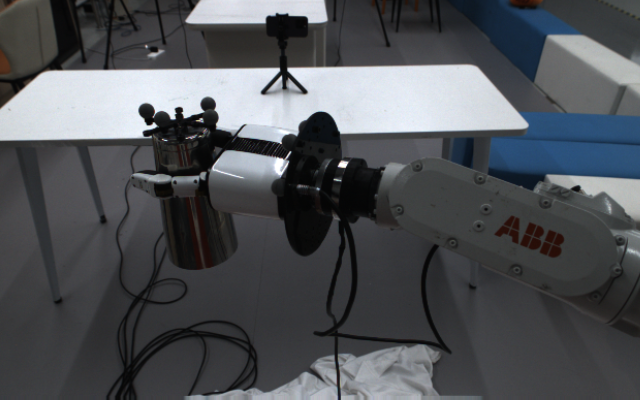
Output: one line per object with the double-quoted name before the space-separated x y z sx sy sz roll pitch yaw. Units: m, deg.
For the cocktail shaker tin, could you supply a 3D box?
"cocktail shaker tin" -0.153 -0.011 0.600 0.093 0.170 0.093 -1 33 1
